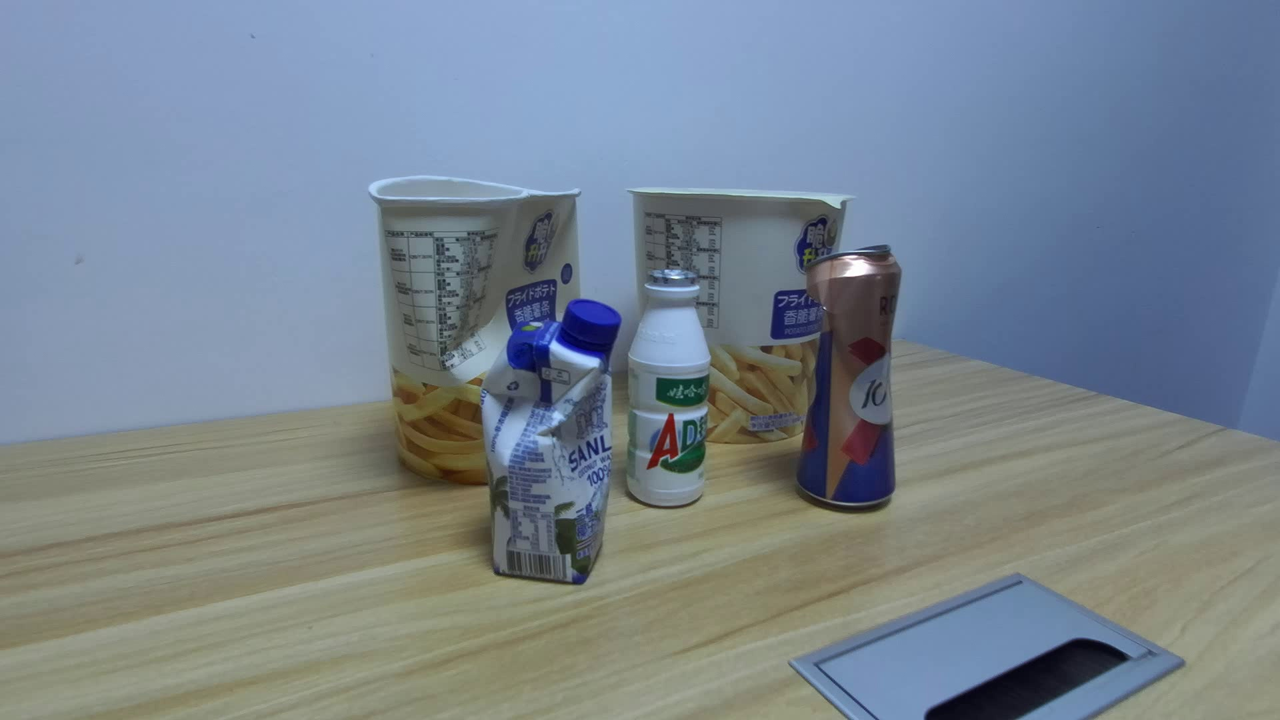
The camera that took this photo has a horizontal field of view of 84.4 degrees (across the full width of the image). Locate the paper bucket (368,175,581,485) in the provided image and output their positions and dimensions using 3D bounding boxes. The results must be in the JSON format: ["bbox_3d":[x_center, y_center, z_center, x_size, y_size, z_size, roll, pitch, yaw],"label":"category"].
[{"bbox_3d":[-0.107,-0.030,0.521,0.148,0.199,0.217,-2,16,-14],"label":"paper bucket"}]

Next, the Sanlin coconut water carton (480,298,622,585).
[{"bbox_3d":[-0.047,0.040,0.370,0.070,0.143,0.061,5,17,9],"label":"Sanlin coconut water carton"}]

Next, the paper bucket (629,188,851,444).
[{"bbox_3d":[0.078,-0.044,0.604,0.198,0.194,0.198,1,14,0],"label":"paper bucket"}]

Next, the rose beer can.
[{"bbox_3d":[0.138,0.012,0.460,0.070,0.168,0.069,-5,12,-12],"label":"rose beer can"}]

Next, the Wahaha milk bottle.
[{"bbox_3d":[0.018,0.019,0.451,0.053,0.147,0.053,2,14,0],"label":"Wahaha milk bottle"}]
